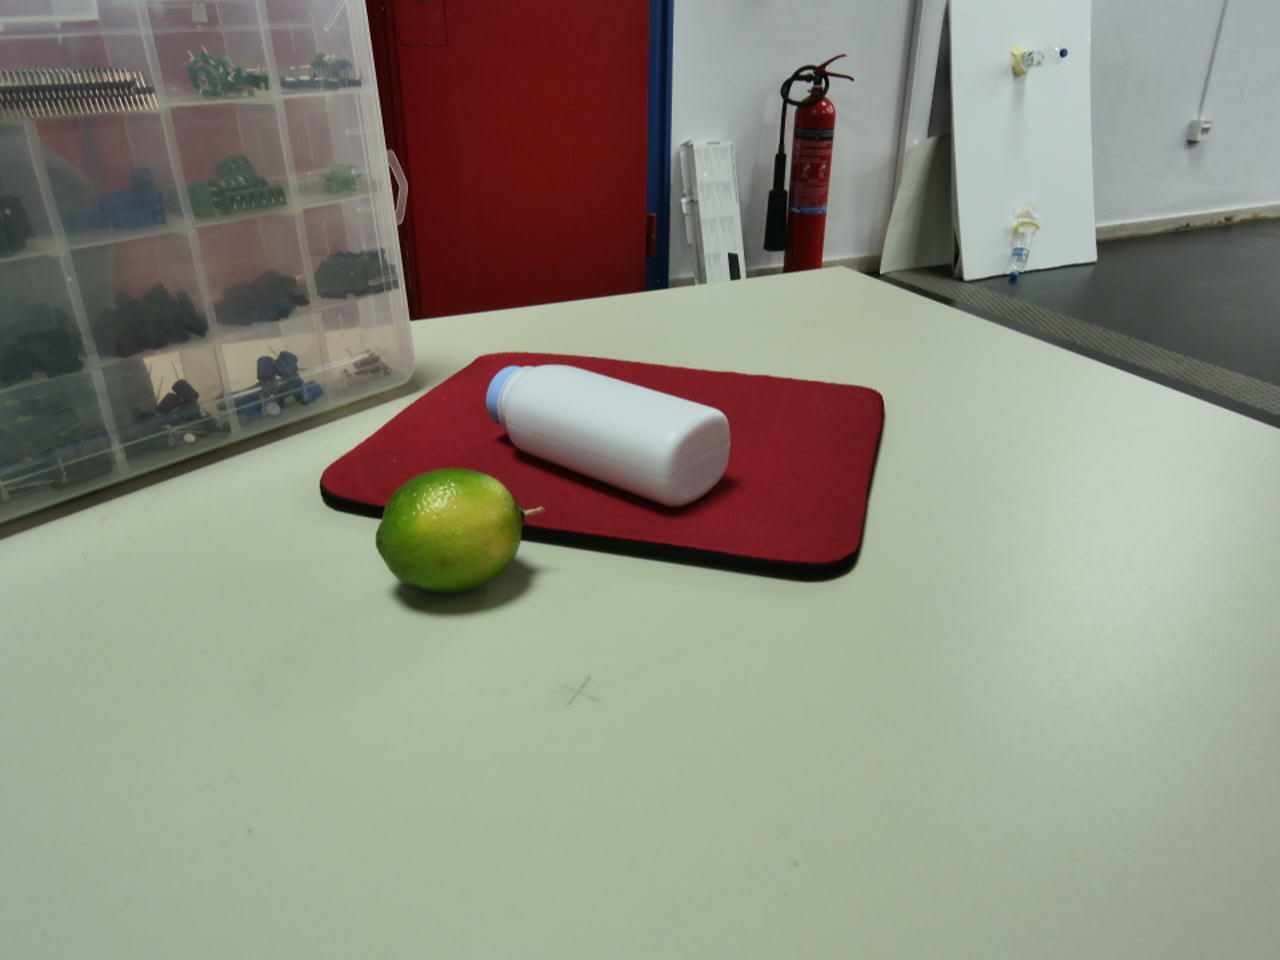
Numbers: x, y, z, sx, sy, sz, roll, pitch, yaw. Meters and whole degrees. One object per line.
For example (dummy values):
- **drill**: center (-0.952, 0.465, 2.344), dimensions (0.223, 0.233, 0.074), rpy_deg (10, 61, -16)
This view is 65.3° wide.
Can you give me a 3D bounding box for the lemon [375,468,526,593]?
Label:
- **lemon**: center (-0.077, 0.020, 0.409), dimensions (0.055, 0.050, 0.054), rpy_deg (10, 26, 21)
